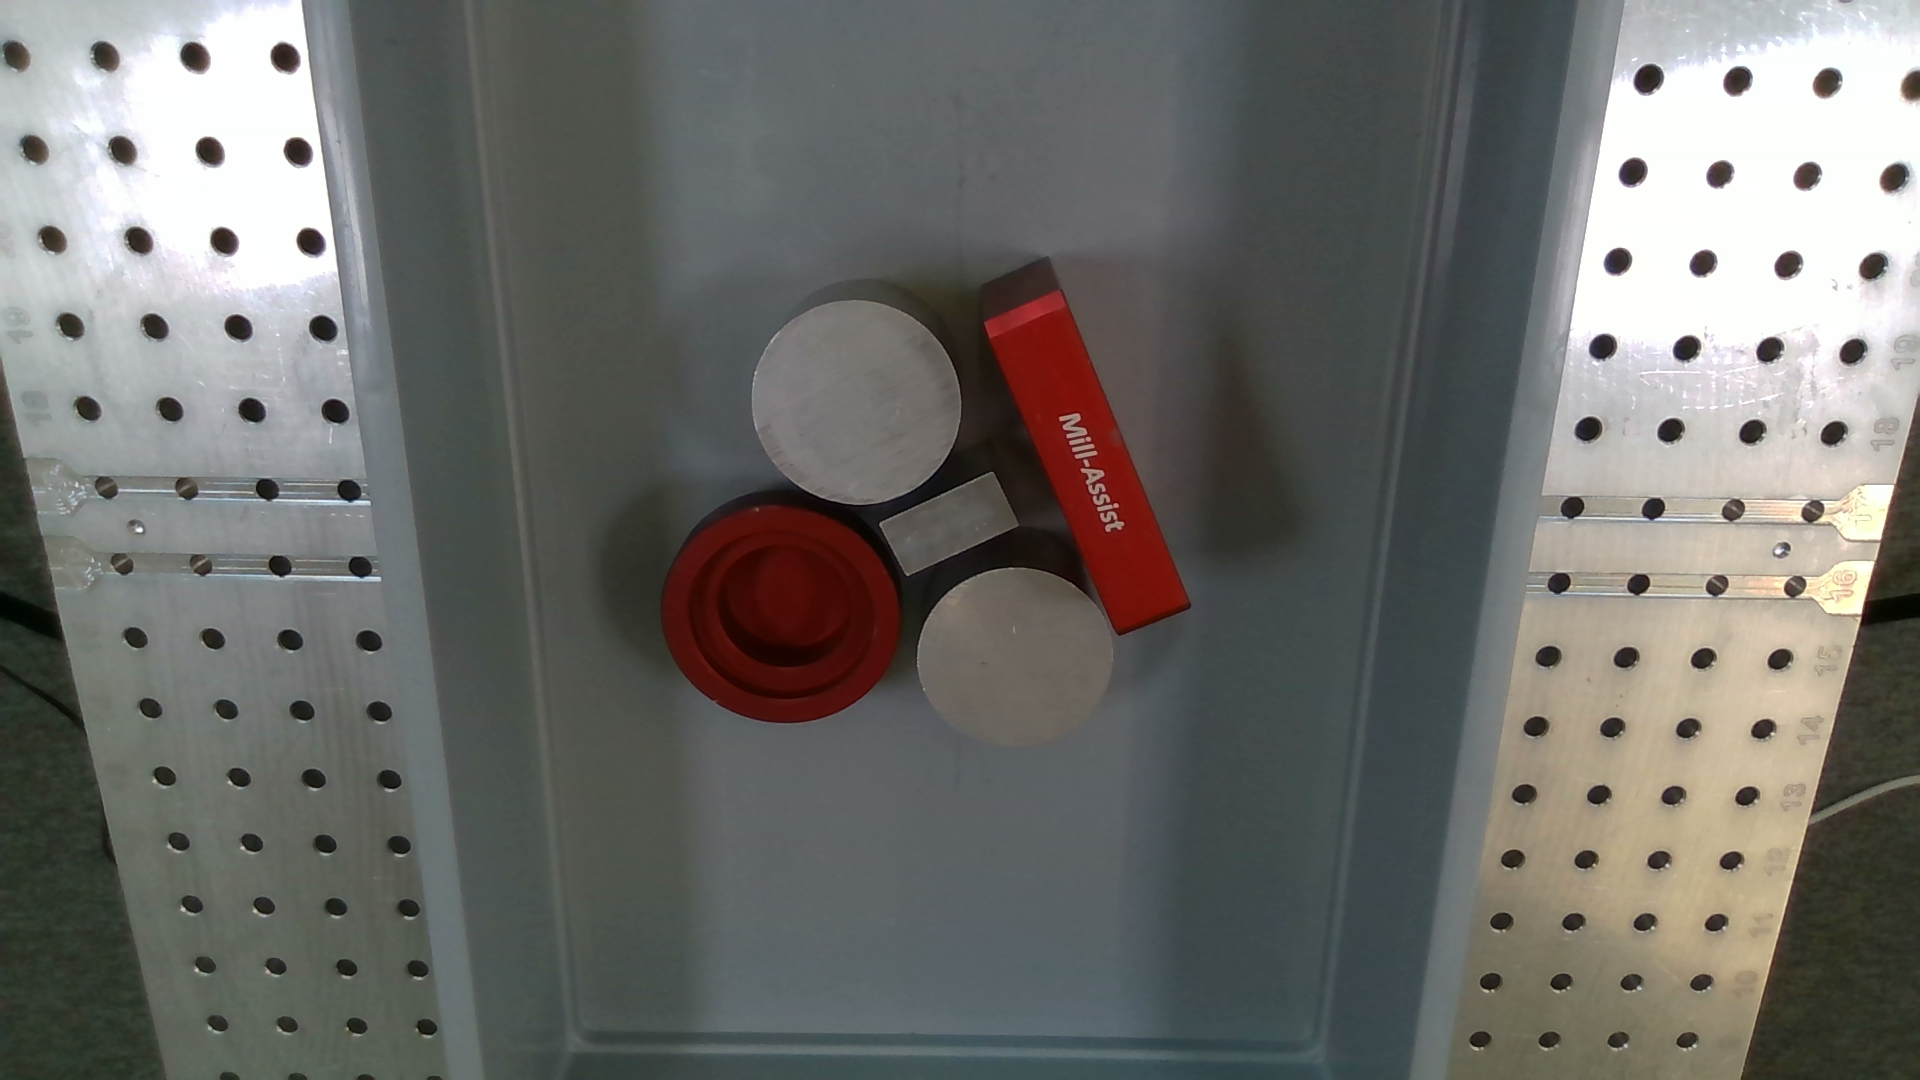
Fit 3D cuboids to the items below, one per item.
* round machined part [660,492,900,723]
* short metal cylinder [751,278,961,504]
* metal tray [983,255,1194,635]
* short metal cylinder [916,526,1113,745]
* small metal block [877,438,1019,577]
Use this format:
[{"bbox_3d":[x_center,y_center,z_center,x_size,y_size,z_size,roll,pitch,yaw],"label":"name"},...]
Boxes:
[{"bbox_3d":[-0.074,0.025,0.584,0.098,0.042,0.098,0,110,0],"label":"round machined part"},{"bbox_3d":[-0.040,-0.060,0.548,0.080,0.050,0.080,0,110,0],"label":"short metal cylinder"},{"bbox_3d":[0.048,-0.039,0.534,0.030,0.090,0.130,-22,108,8],"label":"metal tray"},{"bbox_3d":[0.022,0.040,0.585,0.080,0.050,0.080,0,110,0],"label":"short metal cylinder"},{"bbox_3d":[-0.005,-0.015,0.564,0.050,0.050,0.025,-24,108,9],"label":"small metal block"}]
